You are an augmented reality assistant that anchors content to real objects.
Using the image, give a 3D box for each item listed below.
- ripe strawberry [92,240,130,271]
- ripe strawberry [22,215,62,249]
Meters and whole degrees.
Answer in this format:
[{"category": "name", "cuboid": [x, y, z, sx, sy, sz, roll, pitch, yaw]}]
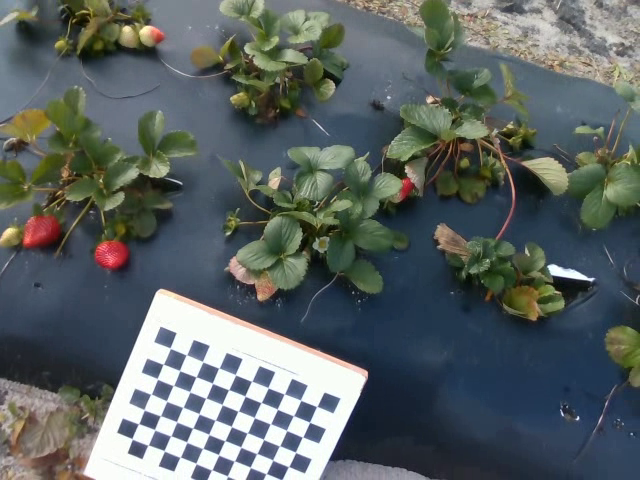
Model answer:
[{"category": "ripe strawberry", "cuboid": [-0.195, 0.016, 0.583, 0.034, 0.037, 0.039, 27, 24, -22]}, {"category": "ripe strawberry", "cuboid": [-0.260, -0.007, 0.579, 0.035, 0.041, 0.036, 9, 37, 6]}]
